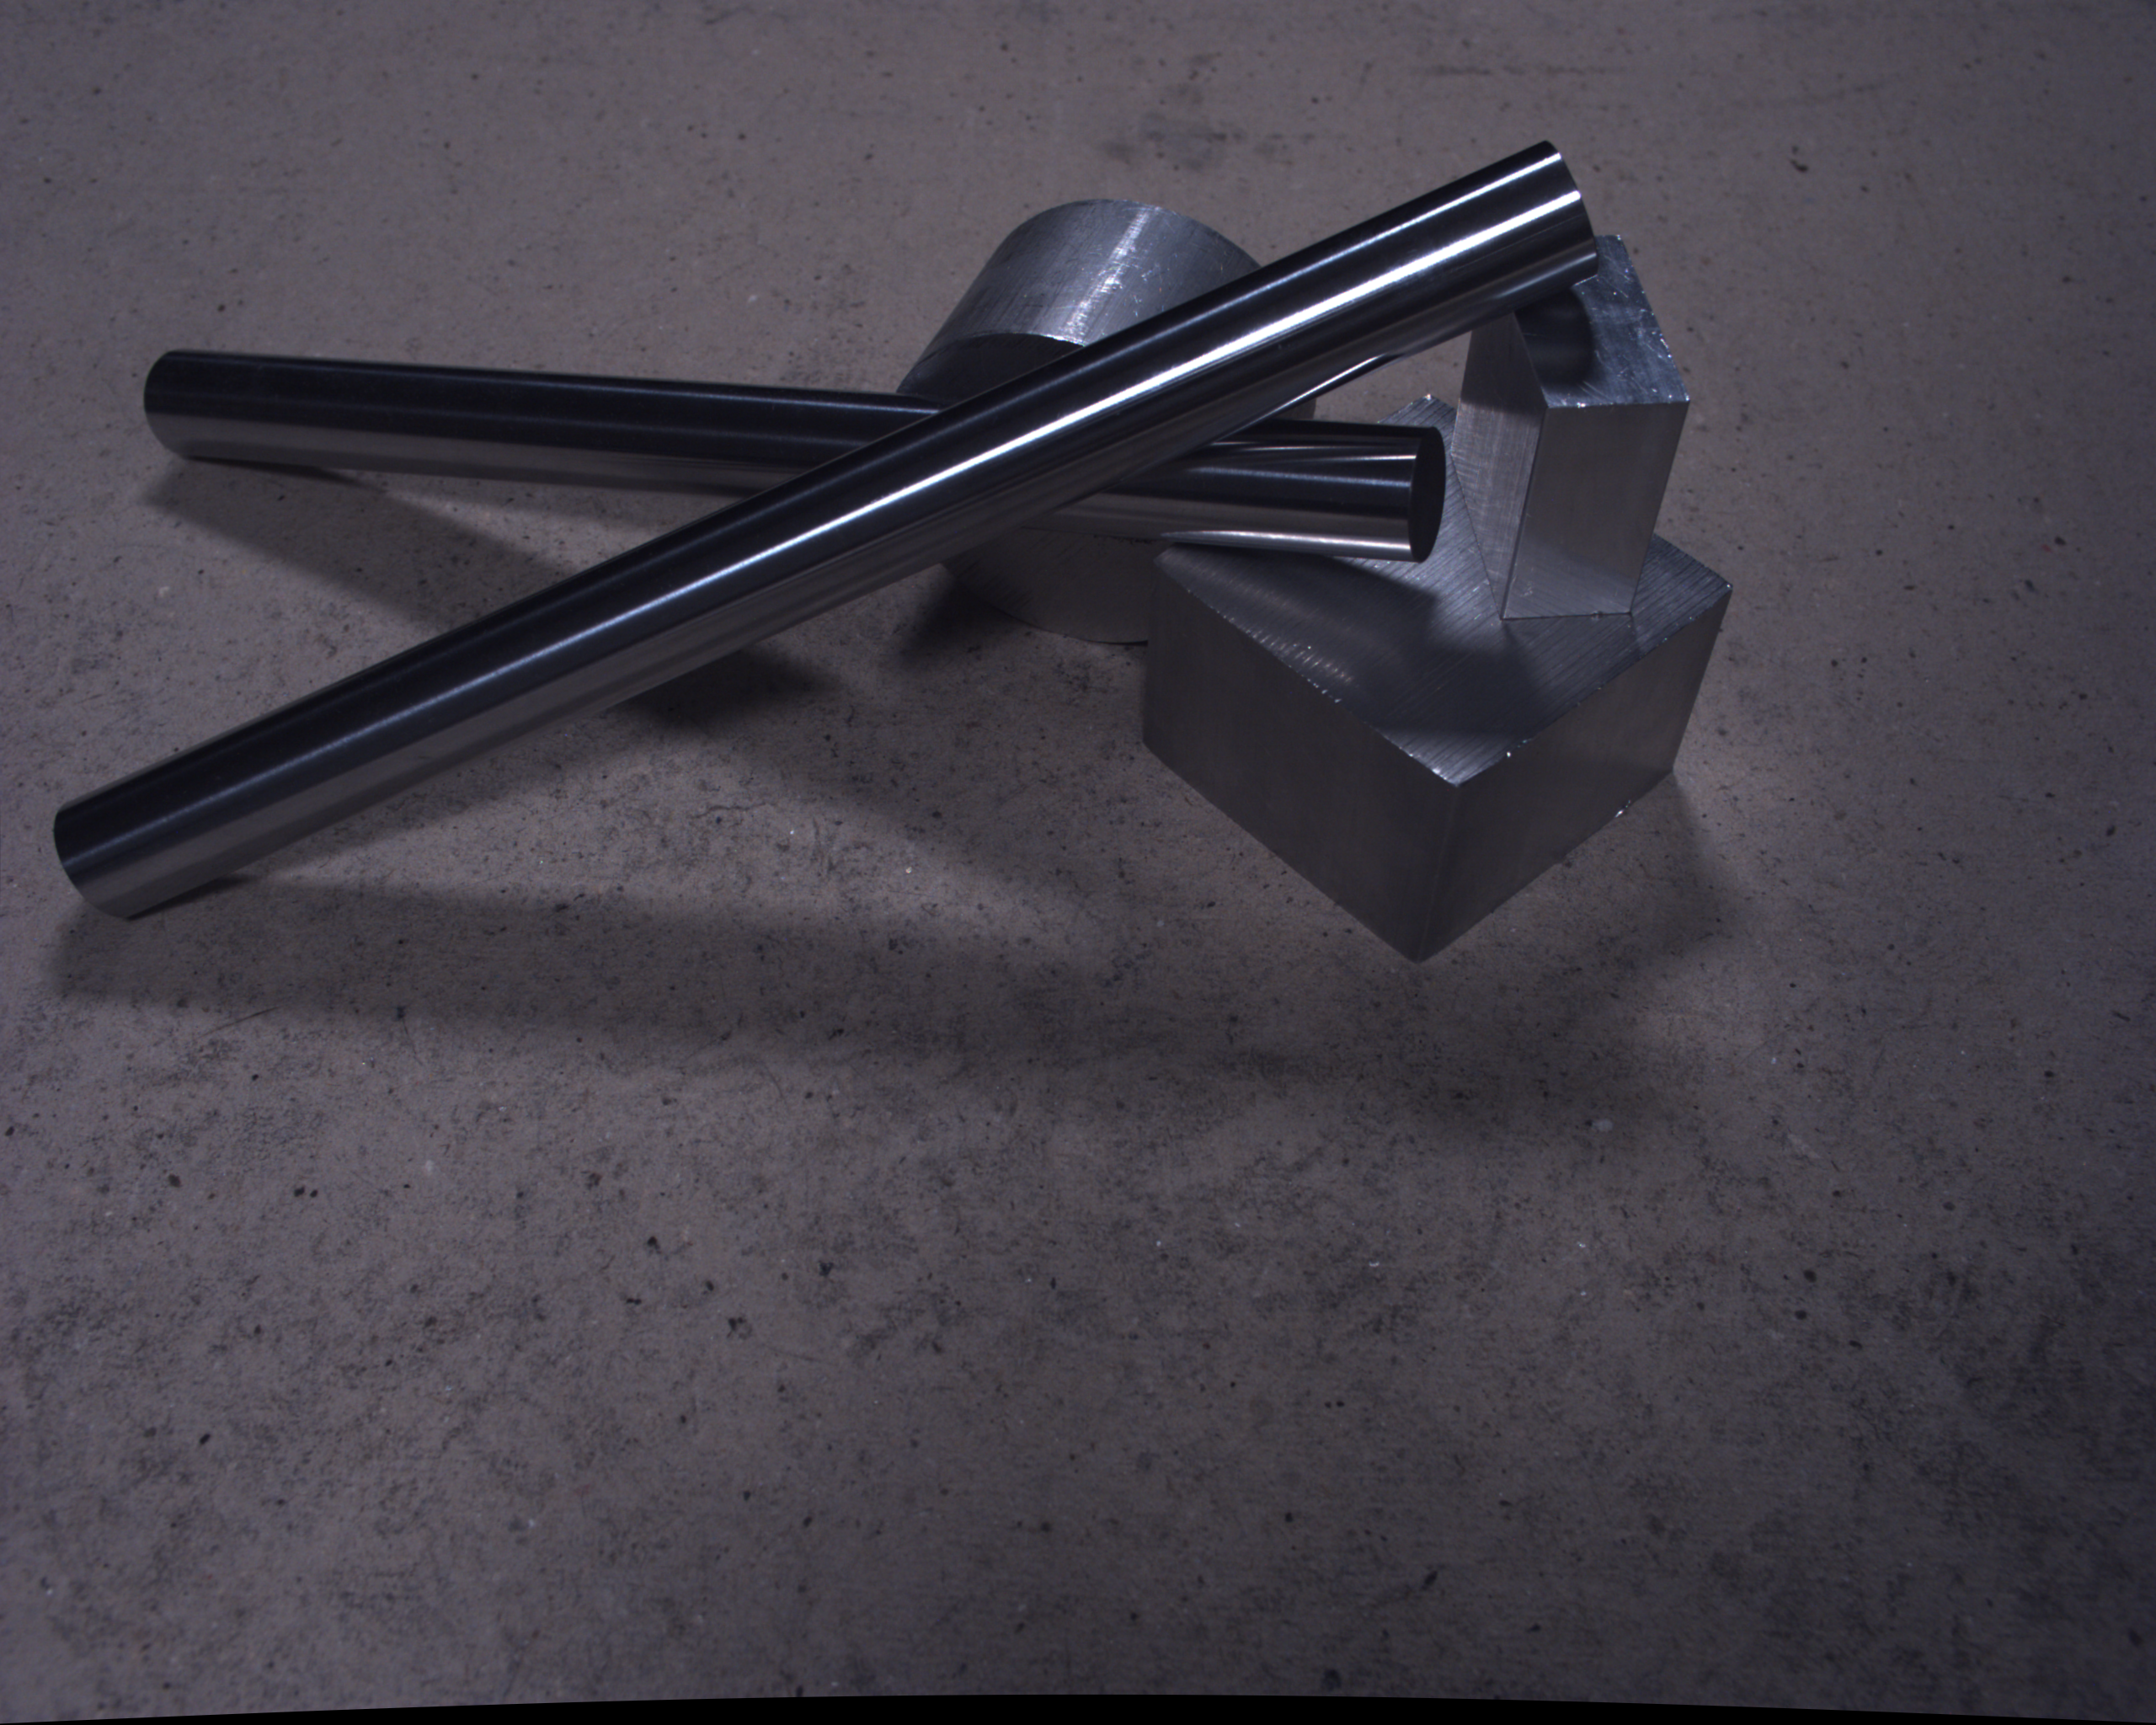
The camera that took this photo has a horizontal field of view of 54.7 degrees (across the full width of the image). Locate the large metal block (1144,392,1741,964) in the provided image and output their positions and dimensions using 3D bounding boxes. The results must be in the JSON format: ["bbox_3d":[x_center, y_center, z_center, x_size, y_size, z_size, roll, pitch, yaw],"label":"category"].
[{"bbox_3d":[0.070,-0.039,0.421,0.080,0.050,0.080,-35,58,-25],"label":"large metal block"}]

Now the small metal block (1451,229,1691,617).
[{"bbox_3d":[0.090,-0.082,0.390,0.025,0.050,0.050,-4,51,-3],"label":"small metal block"}]

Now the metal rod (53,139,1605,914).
[{"bbox_3d":[-0.051,-0.058,0.384,0.301,0.025,0.025,-22,51,8],"label":"metal rod"}]

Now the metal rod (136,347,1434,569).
[{"bbox_3d":[-0.076,-0.088,0.441,0.301,0.025,0.025,9,50,22],"label":"metal rod"}]

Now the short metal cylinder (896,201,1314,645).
[{"bbox_3d":[0.005,-0.093,0.449,0.080,0.080,0.050,16,52,13],"label":"short metal cylinder"}]
